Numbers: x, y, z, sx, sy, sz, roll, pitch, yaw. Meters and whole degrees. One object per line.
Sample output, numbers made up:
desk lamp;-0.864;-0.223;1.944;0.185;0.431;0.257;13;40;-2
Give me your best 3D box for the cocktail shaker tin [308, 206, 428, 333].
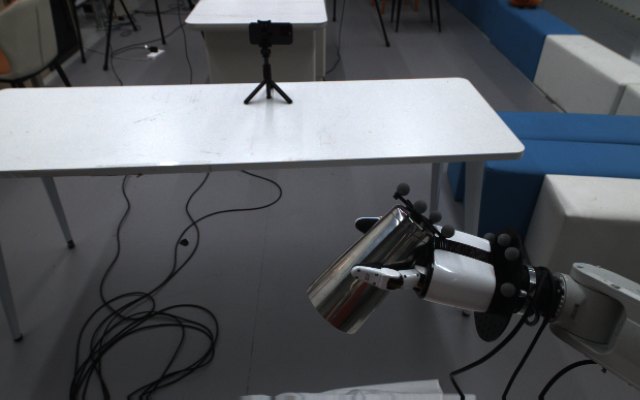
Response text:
cocktail shaker tin;0.073;0.085;0.661;0.093;0.170;0.093;41;12;-11
